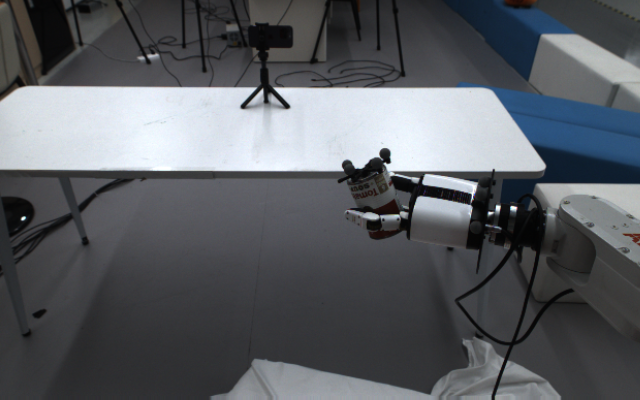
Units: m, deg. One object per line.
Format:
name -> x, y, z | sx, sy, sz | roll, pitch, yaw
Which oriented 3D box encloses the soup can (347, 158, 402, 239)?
soup can -> 0.092, 0.002, 0.765 | 0.067, 0.101, 0.067 | -23, 16, 7
